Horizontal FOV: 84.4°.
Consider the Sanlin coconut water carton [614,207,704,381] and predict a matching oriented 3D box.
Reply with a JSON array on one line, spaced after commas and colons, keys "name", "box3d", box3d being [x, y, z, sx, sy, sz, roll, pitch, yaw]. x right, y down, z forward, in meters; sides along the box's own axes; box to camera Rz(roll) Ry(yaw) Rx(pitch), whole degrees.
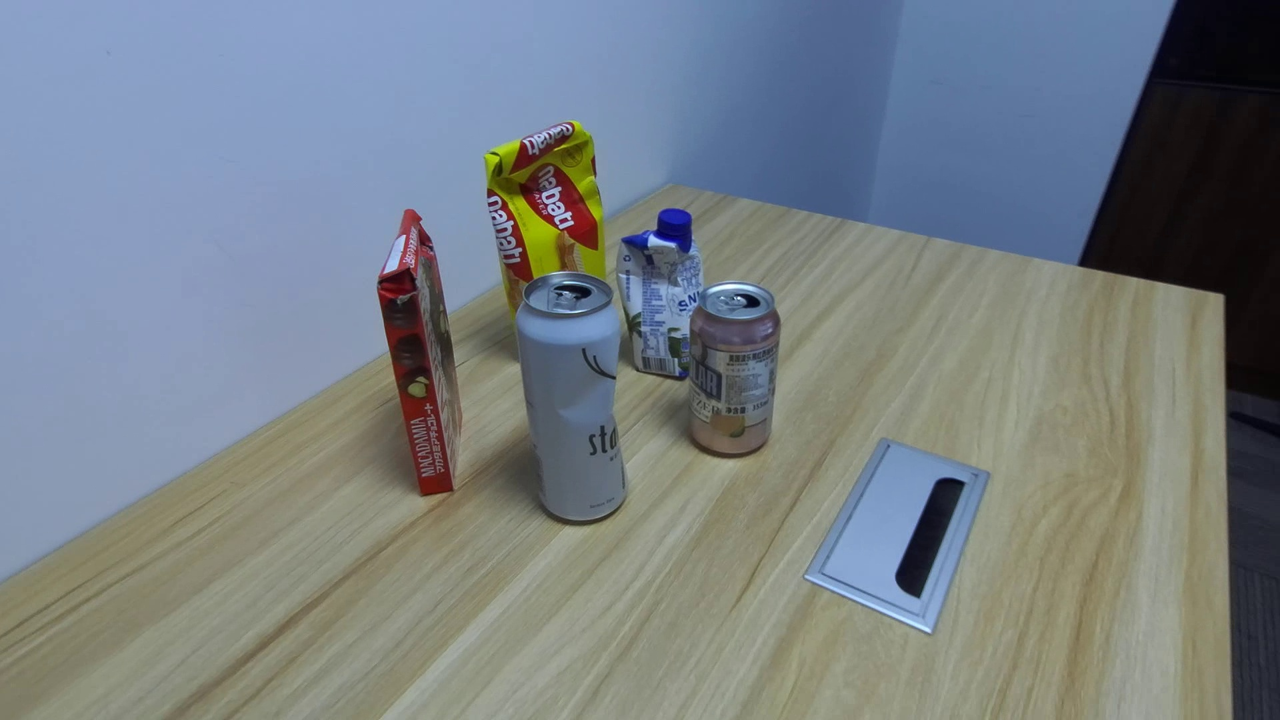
[{"name": "Sanlin coconut water carton", "box3d": [0.020, -0.061, 0.622, 0.068, 0.145, 0.057, 3, 26, 21]}]

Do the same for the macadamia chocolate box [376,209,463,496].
[{"name": "macadamia chocolate box", "box3d": [-0.155, -0.005, 0.513, 0.027, 0.187, 0.102, -4, 34, -8]}]

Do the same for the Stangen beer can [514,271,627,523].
[{"name": "Stangen beer can", "box3d": [-0.040, 0.027, 0.471, 0.069, 0.173, 0.070, 15, 37, 24]}]

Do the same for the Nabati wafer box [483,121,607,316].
[{"name": "Nabati wafer box", "box3d": [-0.076, -0.097, 0.626, 0.042, 0.205, 0.113, 19, 41, 30]}]

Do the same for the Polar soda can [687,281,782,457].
[{"name": "Polar soda can", "box3d": [0.070, 0.008, 0.534, 0.067, 0.126, 0.067, -2, 32, 1]}]
